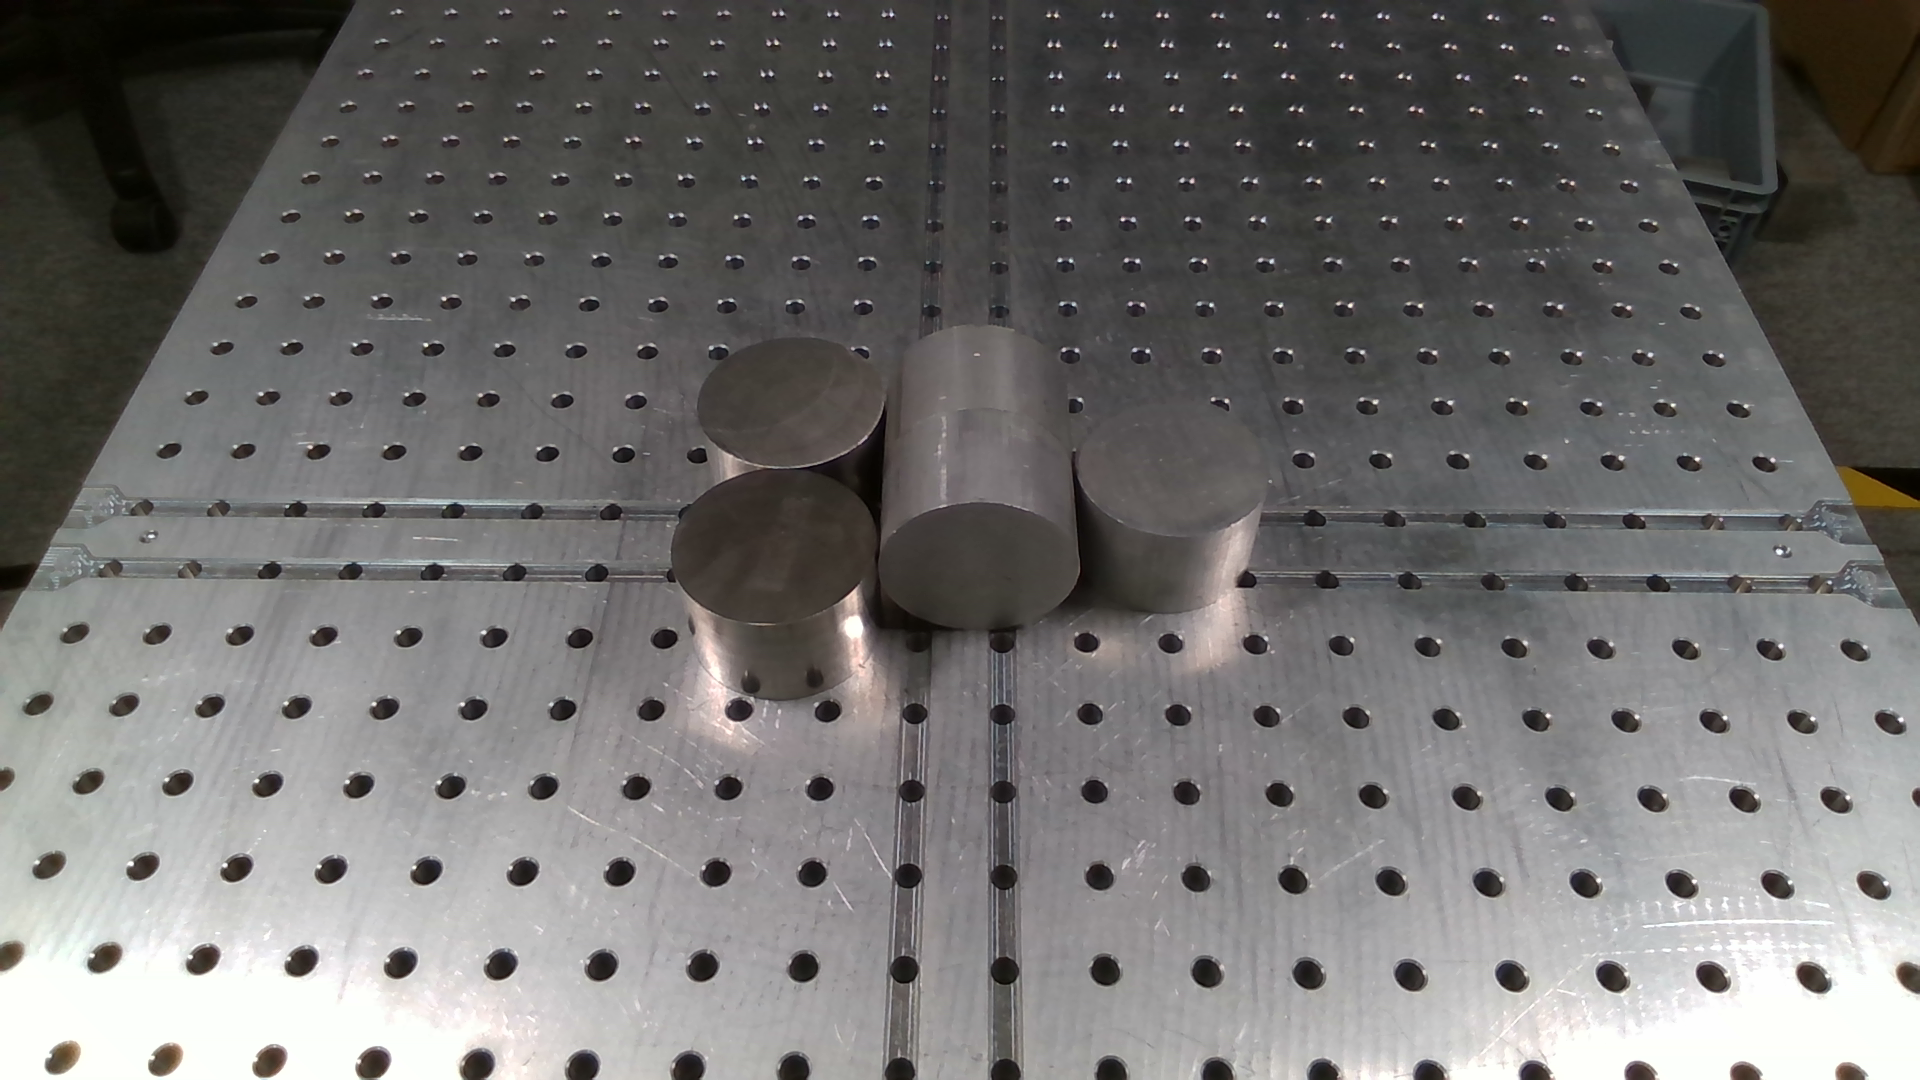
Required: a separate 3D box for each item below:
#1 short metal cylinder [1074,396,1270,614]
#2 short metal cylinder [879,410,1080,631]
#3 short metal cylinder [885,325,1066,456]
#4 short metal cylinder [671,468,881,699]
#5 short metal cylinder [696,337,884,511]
[{"bbox_3d":[0.087,-0.015,0.586,0.080,0.050,0.080,0,50,0],"label":"short metal cylinder"},{"bbox_3d":[0.007,-0.007,0.561,0.080,0.080,0.050,0,50,0],"label":"short metal cylinder"},{"bbox_3d":[0.007,-0.045,0.593,0.080,0.080,0.050,0,50,0],"label":"short metal cylinder"},{"bbox_3d":[-0.073,0.017,0.558,0.080,0.050,0.080,0,50,0],"label":"short metal cylinder"},{"bbox_3d":[-0.073,-0.044,0.610,0.080,0.050,0.080,0,50,0],"label":"short metal cylinder"}]
